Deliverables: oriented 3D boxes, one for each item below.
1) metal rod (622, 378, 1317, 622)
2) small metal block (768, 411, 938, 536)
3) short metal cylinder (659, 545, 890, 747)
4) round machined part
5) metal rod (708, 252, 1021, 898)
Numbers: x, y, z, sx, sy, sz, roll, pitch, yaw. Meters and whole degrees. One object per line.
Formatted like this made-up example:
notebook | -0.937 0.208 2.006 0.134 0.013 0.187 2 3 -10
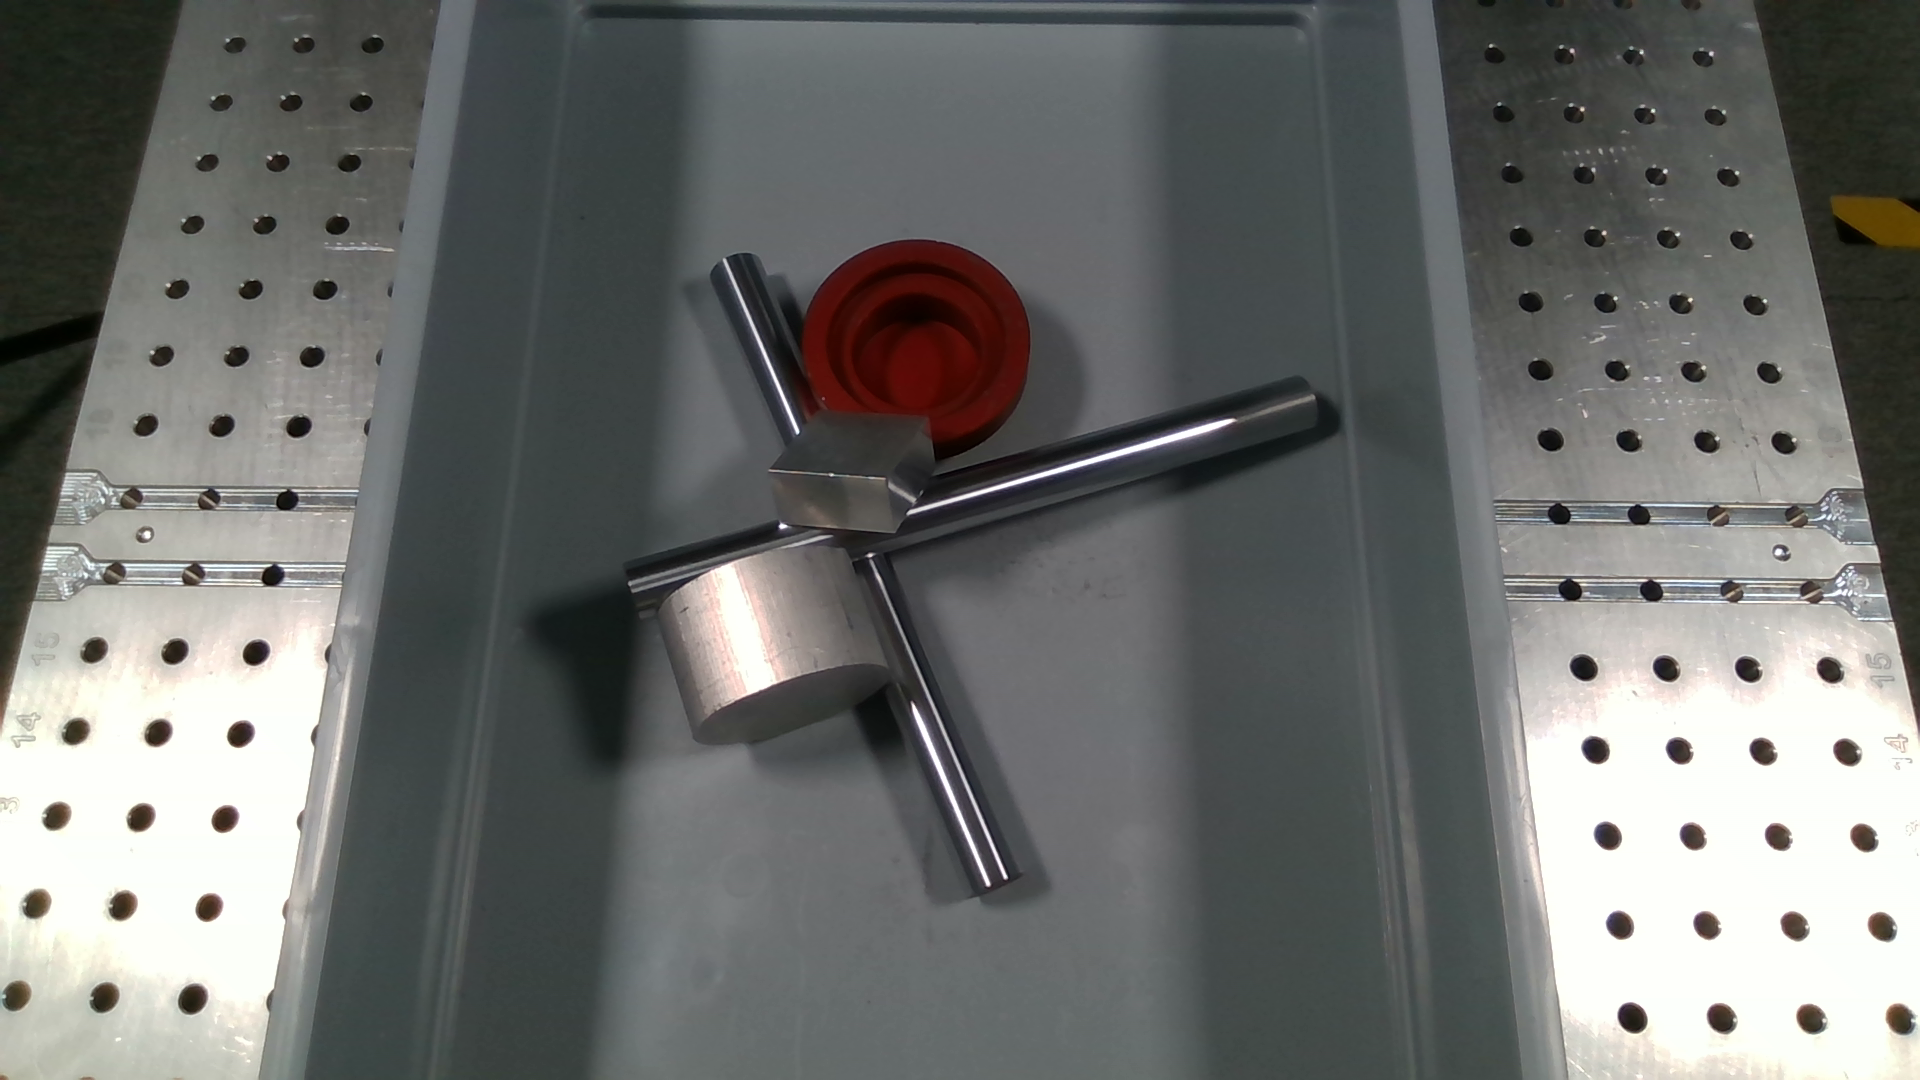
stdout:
metal rod | 0.011 -0.020 0.575 0.300 0.025 0.025 -16 71 -13
small metal block | -0.042 -0.028 0.553 0.050 0.025 0.050 5 35 18
short metal cylinder | -0.073 0.043 0.543 0.080 0.080 0.050 -19 71 -7
round machined part | -0.019 -0.080 0.607 0.098 0.042 0.098 0 70 0
metal rod | -0.045 0.006 0.585 0.025 0.025 0.299 -22 72 -8
